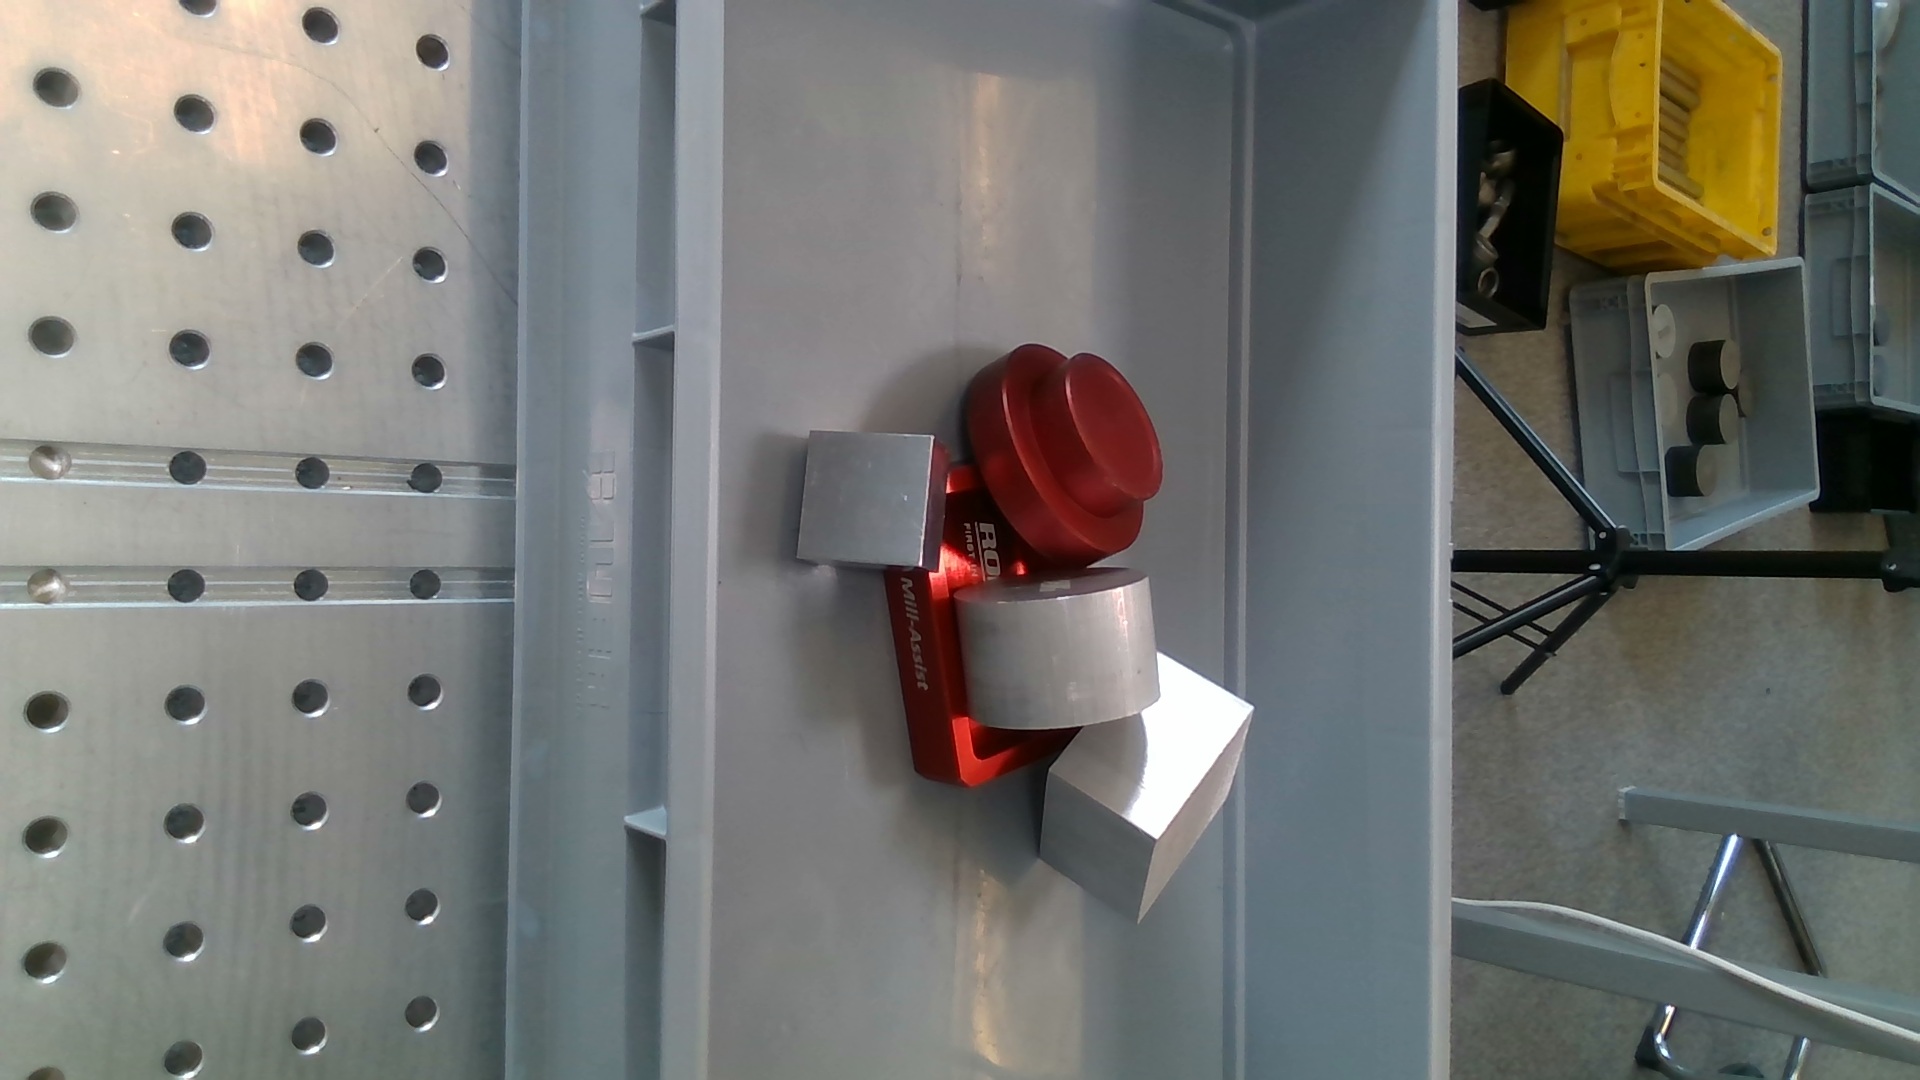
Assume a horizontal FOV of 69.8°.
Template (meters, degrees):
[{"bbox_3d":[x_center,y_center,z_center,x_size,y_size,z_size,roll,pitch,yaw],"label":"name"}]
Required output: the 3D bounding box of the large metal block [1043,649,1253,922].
[{"bbox_3d":[0.081,0.108,0.609,0.080,0.050,0.080,-46,154,-30],"label":"large metal block"}]

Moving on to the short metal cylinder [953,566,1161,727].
[{"bbox_3d":[0.040,0.042,0.563,0.080,0.080,0.050,-12,98,-40],"label":"short metal cylinder"}]

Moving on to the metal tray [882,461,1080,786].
[{"bbox_3d":[0.014,0.030,0.592,0.090,0.030,0.130,-15,100,-39],"label":"metal tray"}]

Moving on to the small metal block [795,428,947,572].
[{"bbox_3d":[-0.033,-0.015,0.534,0.025,0.050,0.050,24,70,-73],"label":"small metal block"}]

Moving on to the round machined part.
[{"bbox_3d":[0.050,-0.041,0.589,0.098,0.042,0.098,35,41,-37],"label":"round machined part"}]
